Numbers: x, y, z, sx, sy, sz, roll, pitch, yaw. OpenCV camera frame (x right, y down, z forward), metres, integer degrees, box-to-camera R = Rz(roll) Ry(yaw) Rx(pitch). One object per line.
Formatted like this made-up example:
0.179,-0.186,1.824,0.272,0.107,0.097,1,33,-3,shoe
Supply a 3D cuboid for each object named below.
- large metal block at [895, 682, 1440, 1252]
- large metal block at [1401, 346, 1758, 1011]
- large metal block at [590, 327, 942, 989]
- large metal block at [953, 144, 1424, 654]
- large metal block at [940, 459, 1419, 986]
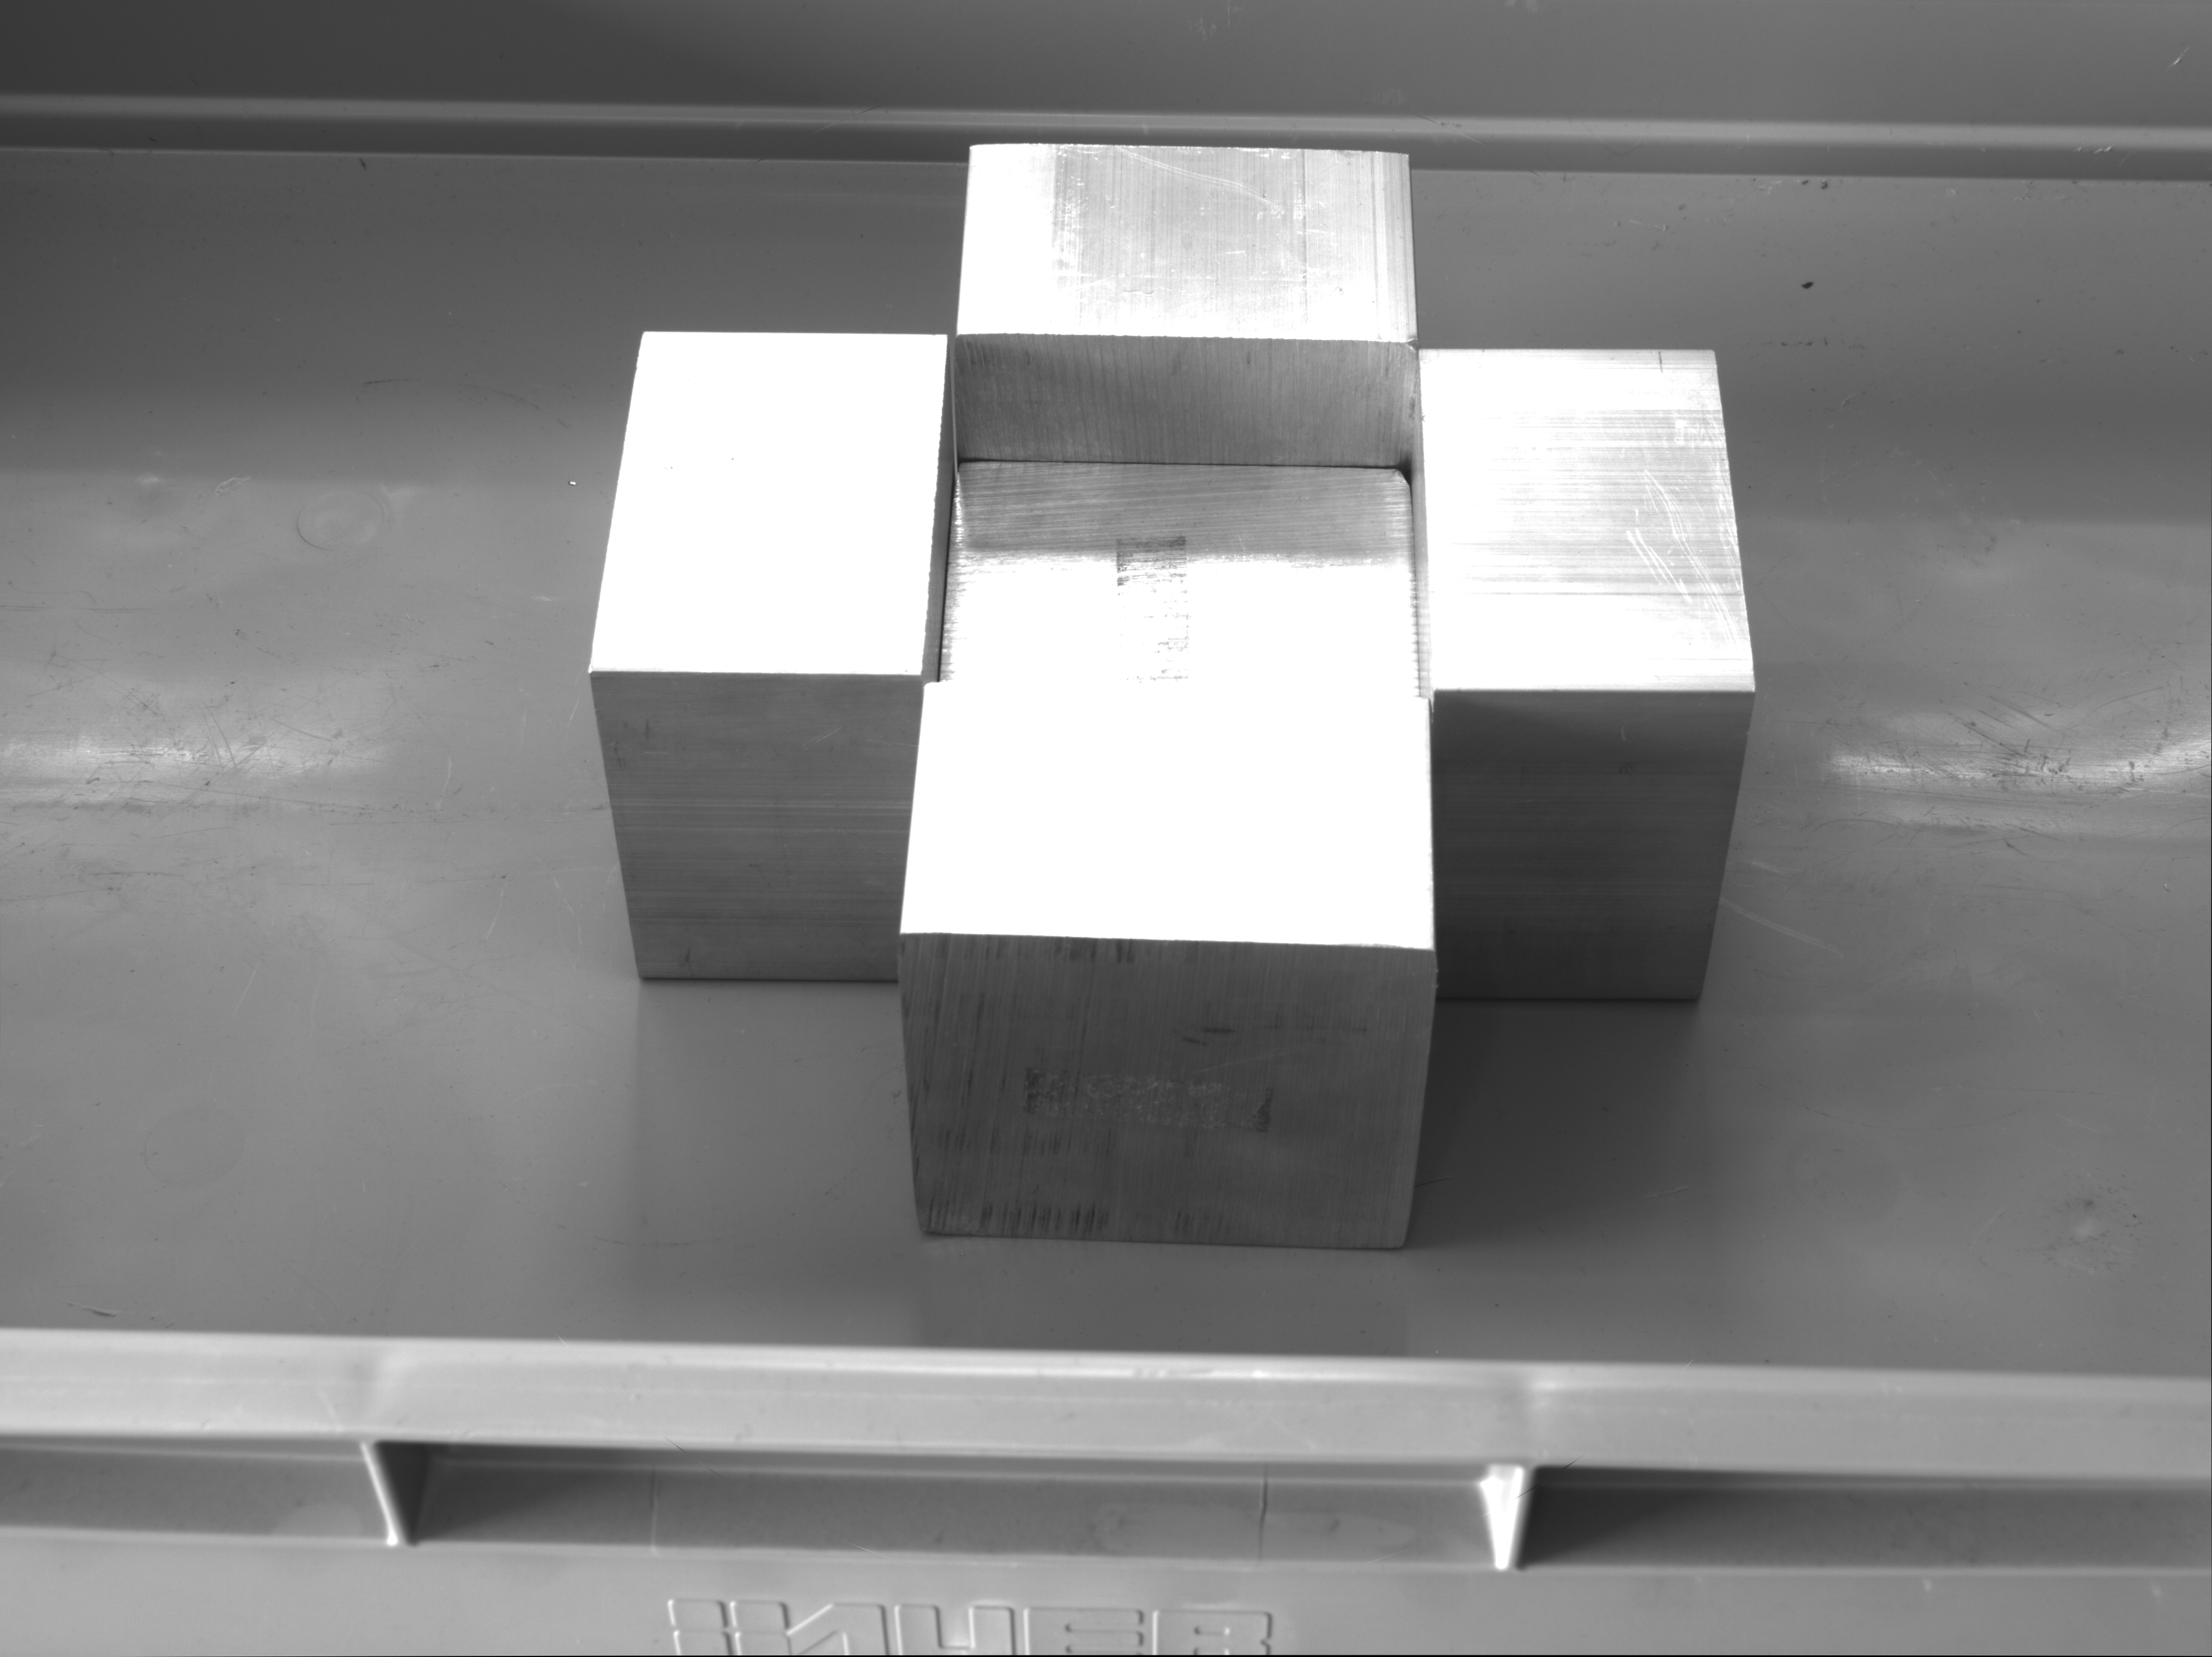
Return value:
0.010,0.023,0.585,0.080,0.080,0.050,1,50,1,large metal block
0.077,-0.025,0.627,0.050,0.080,0.080,1,50,1,large metal block
-0.055,-0.029,0.630,0.050,0.080,0.080,1,50,1,large metal block
0.015,-0.077,0.669,0.080,0.080,0.050,1,50,1,large metal block
0.013,-0.018,0.638,0.080,0.050,0.080,1,50,1,large metal block
